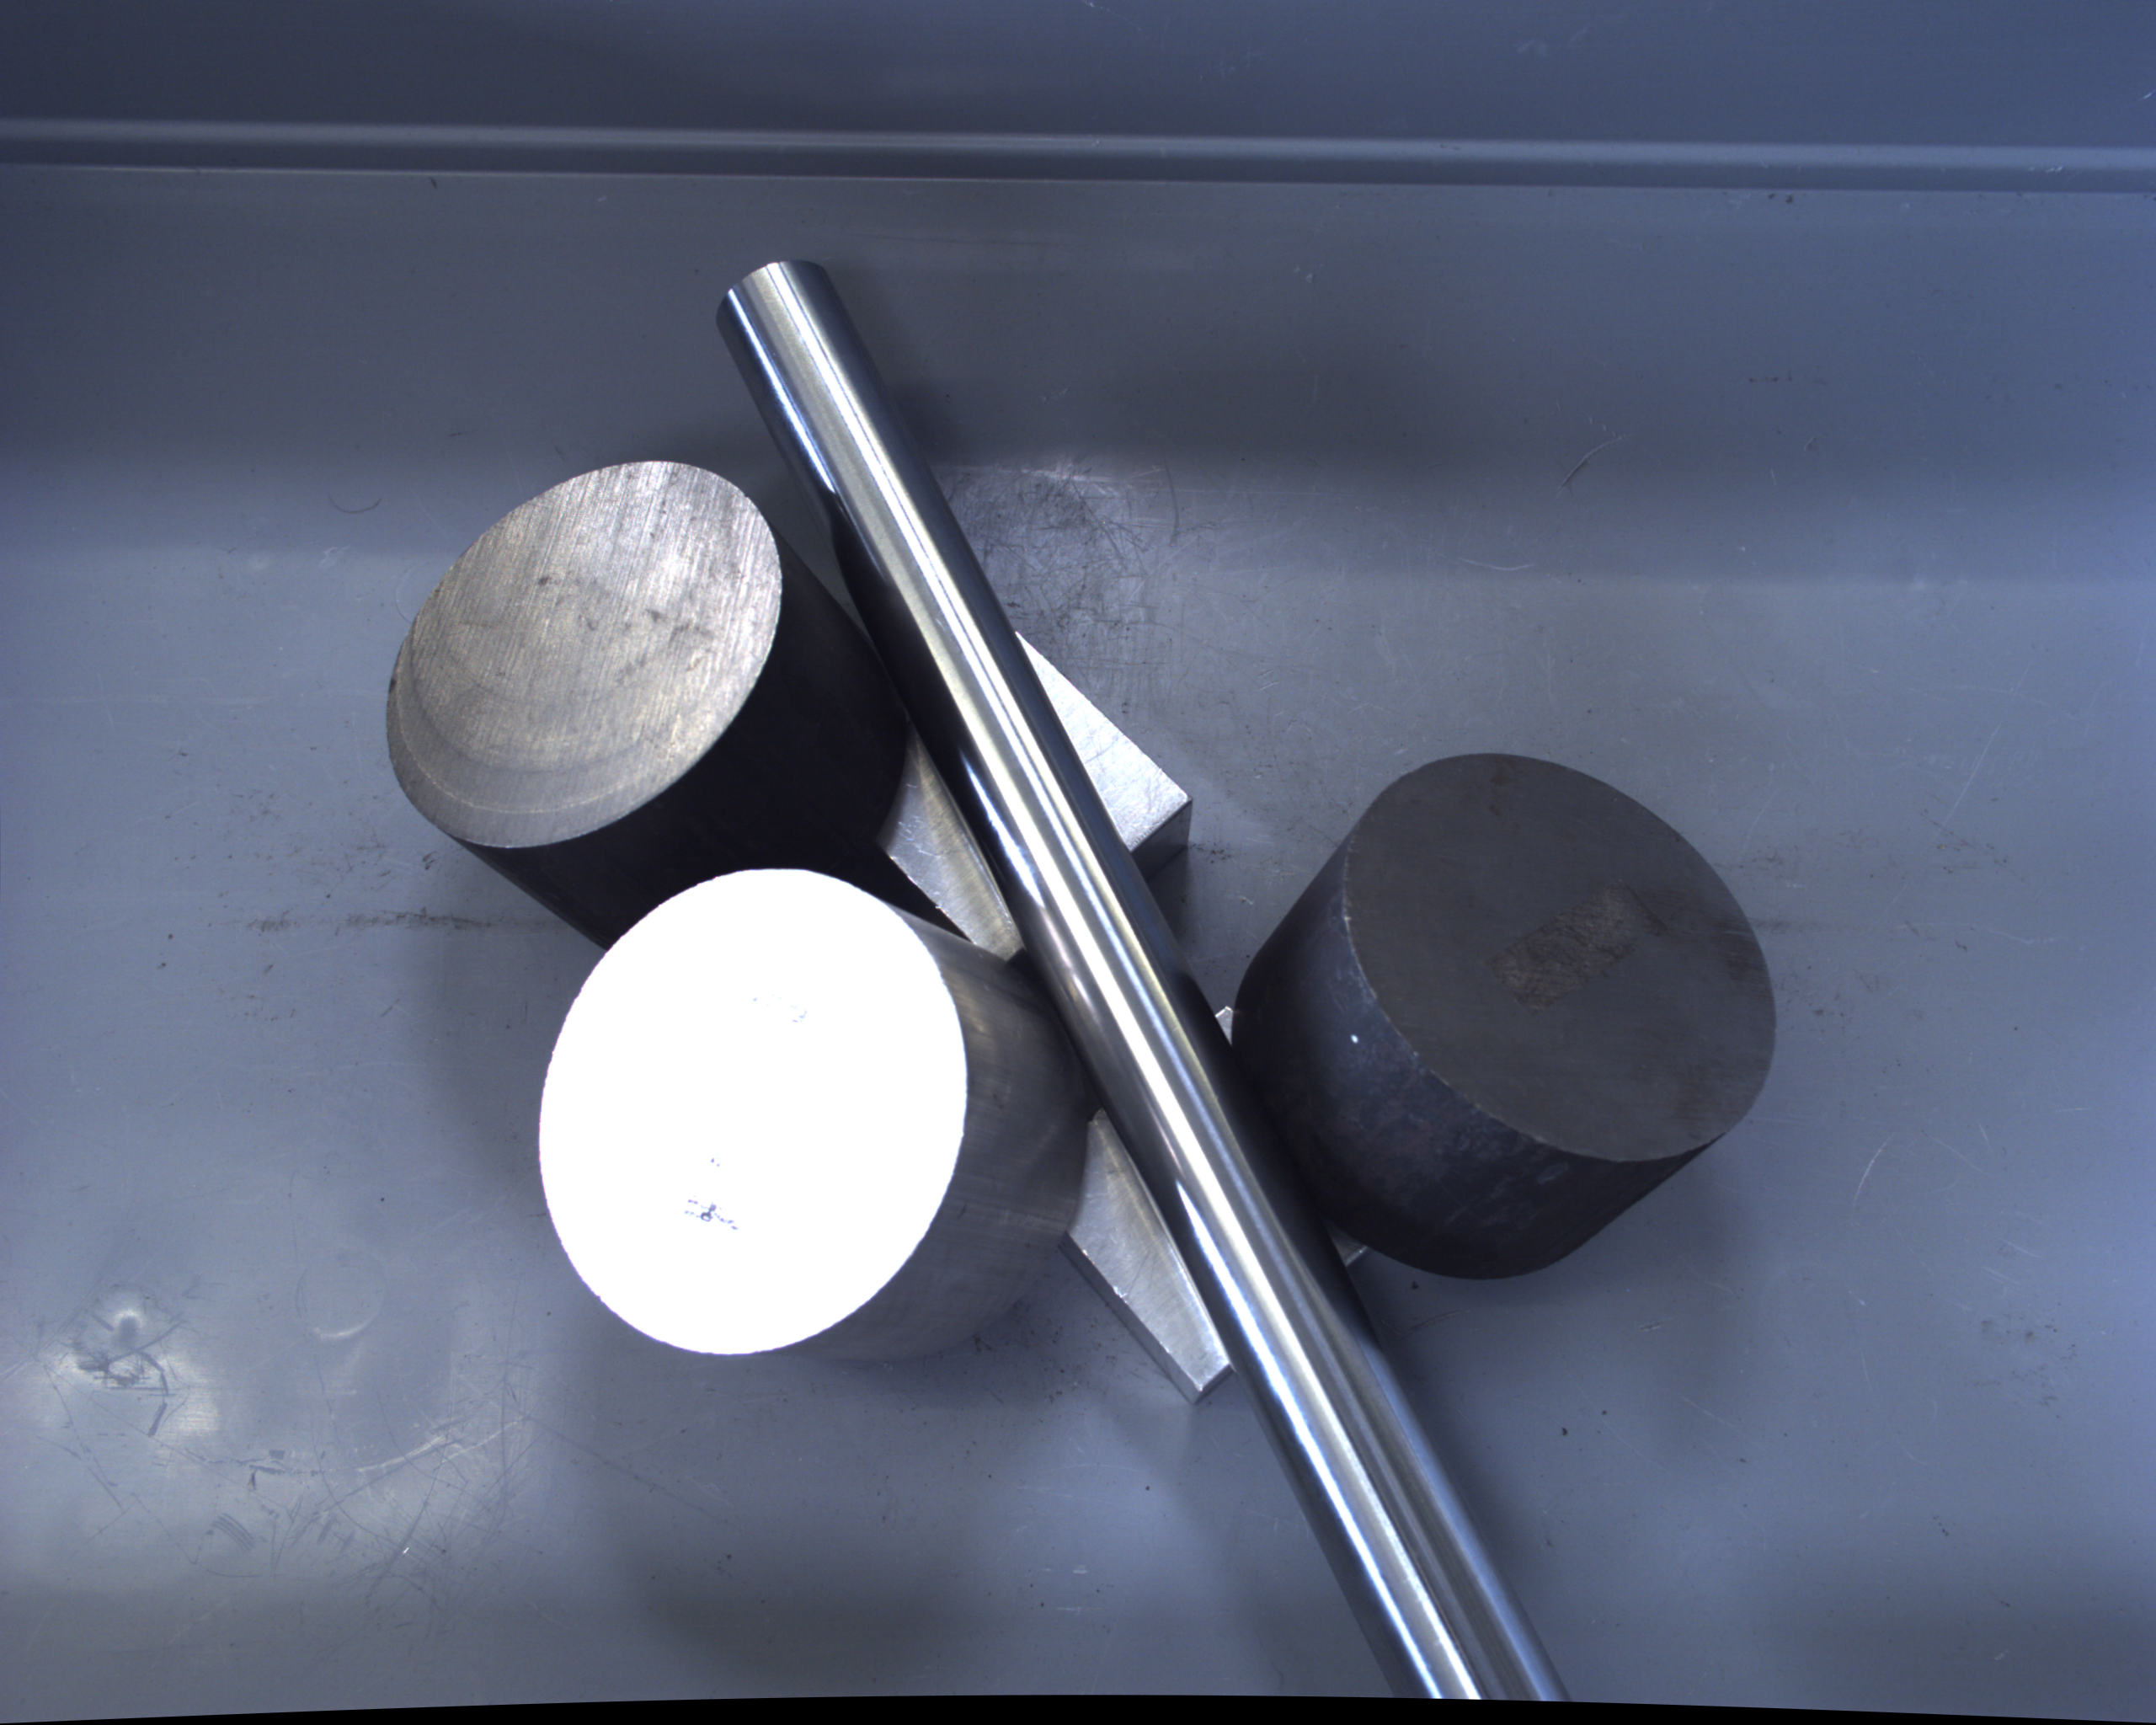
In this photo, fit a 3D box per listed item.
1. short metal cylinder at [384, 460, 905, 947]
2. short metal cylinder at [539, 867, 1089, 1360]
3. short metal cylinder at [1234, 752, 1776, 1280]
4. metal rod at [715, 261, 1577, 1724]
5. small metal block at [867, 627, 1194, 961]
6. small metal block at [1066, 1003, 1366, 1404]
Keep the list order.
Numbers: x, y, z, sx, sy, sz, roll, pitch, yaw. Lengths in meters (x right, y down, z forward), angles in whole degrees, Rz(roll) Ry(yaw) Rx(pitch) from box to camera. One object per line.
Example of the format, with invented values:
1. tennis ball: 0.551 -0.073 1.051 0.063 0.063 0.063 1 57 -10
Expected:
1. short metal cylinder: -0.080 -0.028 0.389 0.080 0.050 0.080 -10 60 18
2. short metal cylinder: -0.045 0.045 0.363 0.080 0.050 0.080 -6 73 21
3. short metal cylinder: 0.074 0.027 0.372 0.081 0.050 0.080 11 53 -15
4. metal rod: 0.003 0.014 0.376 0.025 0.025 0.299 -24 72 -9
5. small metal block: -0.013 -0.009 0.411 0.050 0.025 0.050 -41 75 -14
6. small metal block: 0.024 0.063 0.385 0.050 0.025 0.050 -38 75 -13
